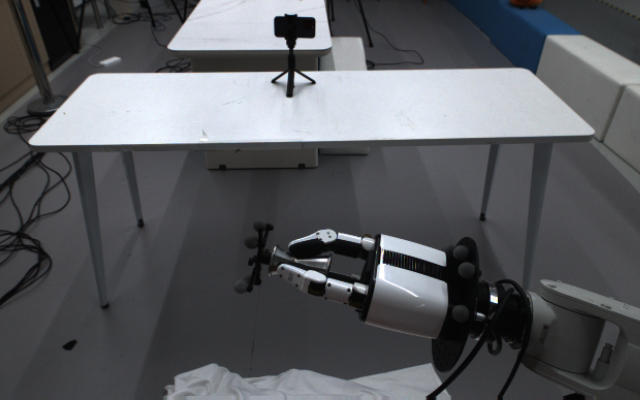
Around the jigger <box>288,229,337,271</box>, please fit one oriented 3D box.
[{"bbox_3d":[-0.016,0.076,0.576,0.071,0.043,0.043,12,36,5],"label":"jigger"}]
